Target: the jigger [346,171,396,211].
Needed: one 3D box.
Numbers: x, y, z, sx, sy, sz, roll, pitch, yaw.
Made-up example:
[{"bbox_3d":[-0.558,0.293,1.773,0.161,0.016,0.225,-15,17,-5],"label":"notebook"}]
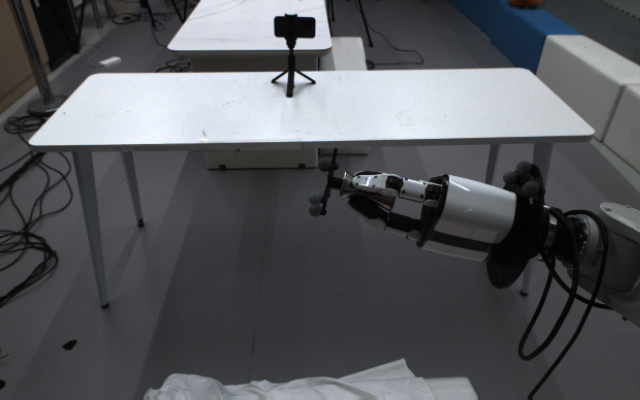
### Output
[{"bbox_3d":[0.068,-0.015,0.616,0.071,0.043,0.043,13,36,3],"label":"jigger"}]
